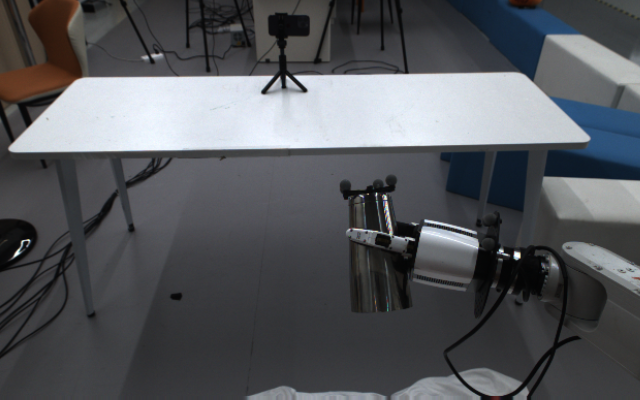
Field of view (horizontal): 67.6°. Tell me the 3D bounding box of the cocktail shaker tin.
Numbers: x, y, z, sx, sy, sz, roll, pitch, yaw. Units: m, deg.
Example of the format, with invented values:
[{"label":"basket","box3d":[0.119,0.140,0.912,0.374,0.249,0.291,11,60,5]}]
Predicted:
[{"label":"cocktail shaker tin","box3d":[0.084,0.078,0.734,0.093,0.170,0.093,-6,-7,-1]}]
